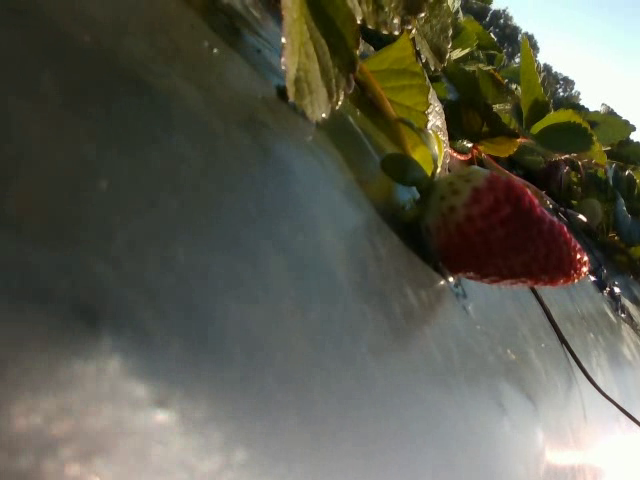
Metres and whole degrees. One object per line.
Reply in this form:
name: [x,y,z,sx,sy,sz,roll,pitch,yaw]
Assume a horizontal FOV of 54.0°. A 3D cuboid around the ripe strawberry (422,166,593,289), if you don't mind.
ripe strawberry: [0.040,0.000,0.133,0.041,0.031,0.028,25,35,20]
